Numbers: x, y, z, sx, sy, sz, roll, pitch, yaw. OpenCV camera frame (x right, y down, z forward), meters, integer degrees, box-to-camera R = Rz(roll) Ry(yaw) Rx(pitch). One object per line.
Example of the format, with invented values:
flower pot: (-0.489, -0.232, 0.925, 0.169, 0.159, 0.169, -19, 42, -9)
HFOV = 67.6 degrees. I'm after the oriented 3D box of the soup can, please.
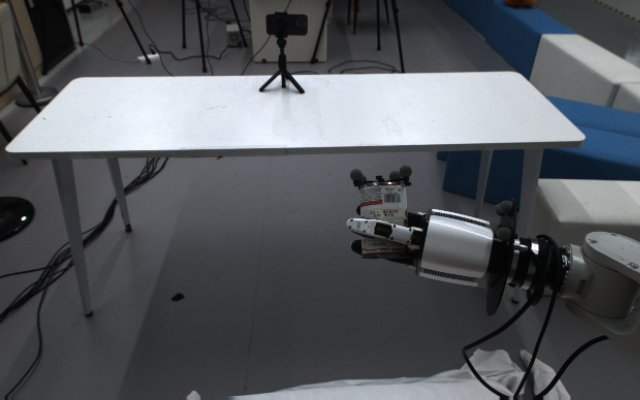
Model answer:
soup can: (0.091, 0.031, 0.678, 0.067, 0.101, 0.067, -1, -9, 0)
